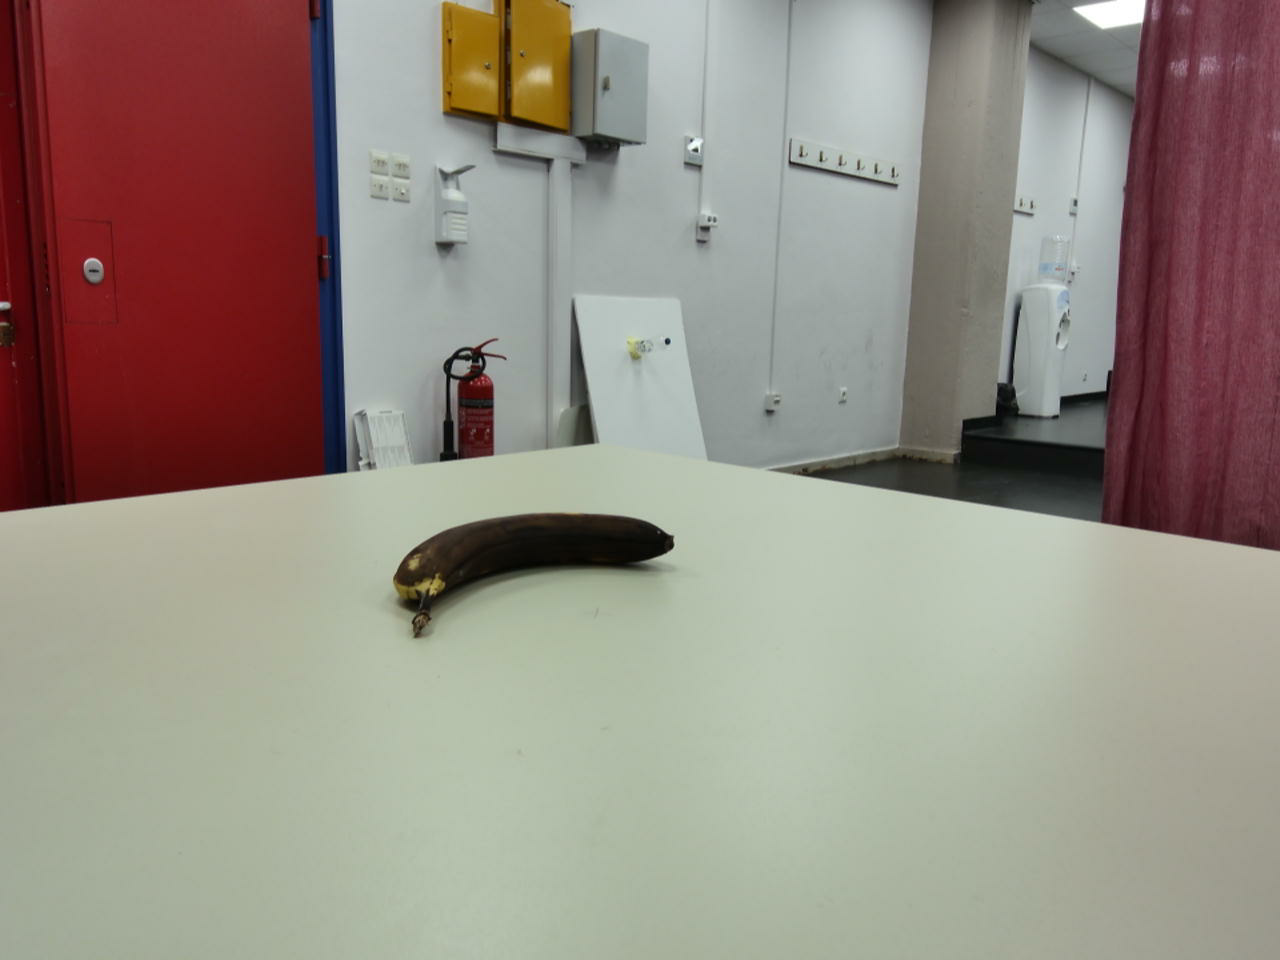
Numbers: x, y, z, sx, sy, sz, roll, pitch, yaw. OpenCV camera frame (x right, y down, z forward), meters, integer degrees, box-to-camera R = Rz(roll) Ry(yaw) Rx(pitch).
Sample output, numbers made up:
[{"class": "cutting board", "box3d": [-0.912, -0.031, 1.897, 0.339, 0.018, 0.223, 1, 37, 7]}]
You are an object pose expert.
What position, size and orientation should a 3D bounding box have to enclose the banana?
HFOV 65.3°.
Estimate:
[{"class": "banana", "box3d": [-0.072, 0.042, 0.570, 0.091, 0.033, 0.188, 7, 11, 43]}]
